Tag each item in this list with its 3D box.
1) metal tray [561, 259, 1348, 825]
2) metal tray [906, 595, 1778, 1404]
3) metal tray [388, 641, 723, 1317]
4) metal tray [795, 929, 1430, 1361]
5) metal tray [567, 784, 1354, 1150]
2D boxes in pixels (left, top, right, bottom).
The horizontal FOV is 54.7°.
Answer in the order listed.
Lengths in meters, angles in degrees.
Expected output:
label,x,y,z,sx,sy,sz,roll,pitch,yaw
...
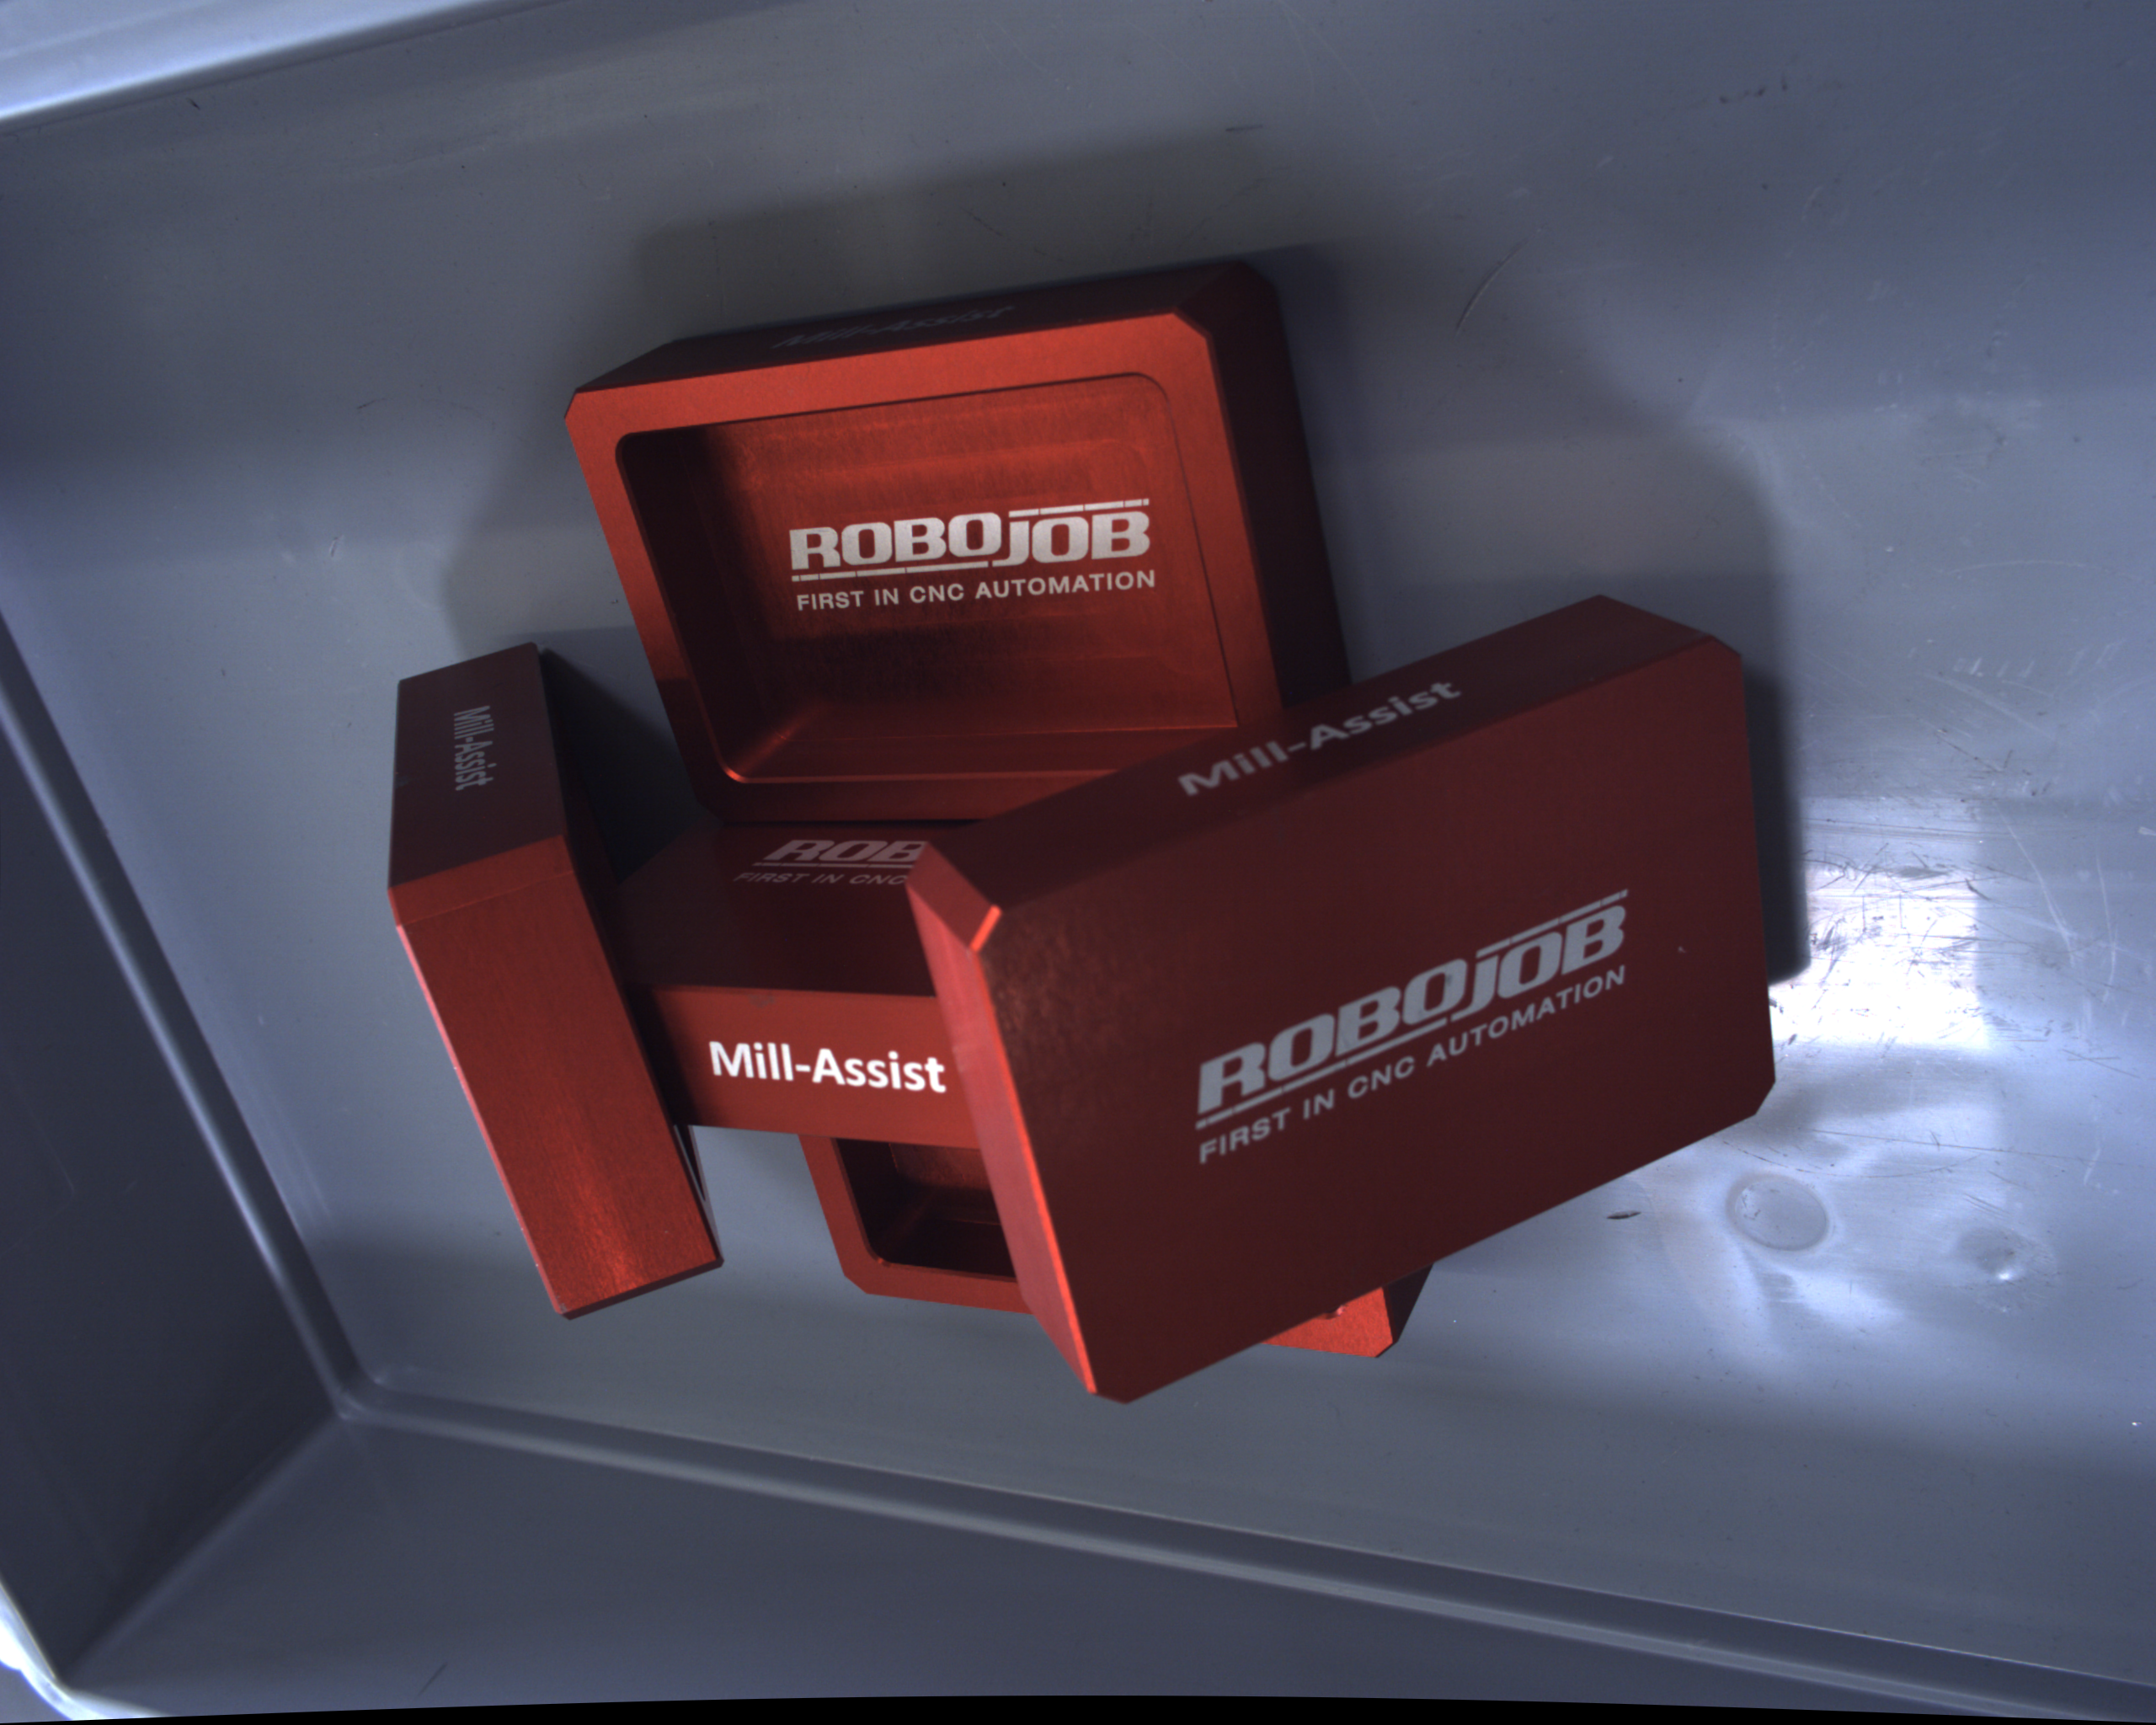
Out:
label,x,y,z,sx,sy,sz,roll,pitch,yaw
metal tray,-0.022,-0.054,0.381,0.130,0.030,0.089,-1,119,27
metal tray,0.047,0.020,0.335,0.030,0.131,0.089,-139,32,-60
metal tray,-0.105,0.017,0.414,0.030,0.130,0.089,-18,115,-9
metal tray,0.002,0.053,0.433,0.130,0.030,0.089,0,119,27
metal tray,-0.025,0.013,0.386,0.130,0.090,0.030,0,118,27
